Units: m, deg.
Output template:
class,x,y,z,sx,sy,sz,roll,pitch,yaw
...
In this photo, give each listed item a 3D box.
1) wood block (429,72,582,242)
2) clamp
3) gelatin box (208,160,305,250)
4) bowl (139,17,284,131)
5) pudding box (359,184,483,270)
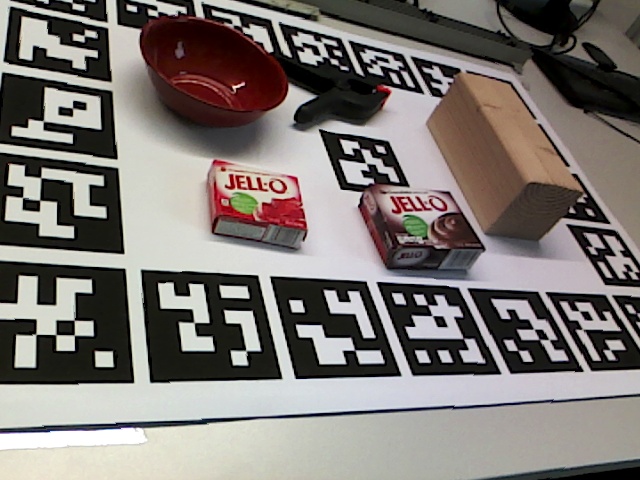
class,x,y,z,sx,sy,sz,roll,pitch,yaw
wood block,0.229,-0.108,0.789,0.089,0.091,0.207,7,48,-26
clamp,0.005,-0.186,0.783,0.164,0.036,0.122,-4,53,-36
gelatin box,-0.062,-0.034,0.591,0.089,0.030,0.073,11,48,-22
bowl,-0.123,-0.172,0.678,0.161,0.055,0.162,17,46,-19
pudding box,0.107,-0.013,0.667,0.113,0.039,0.090,3,53,-26
